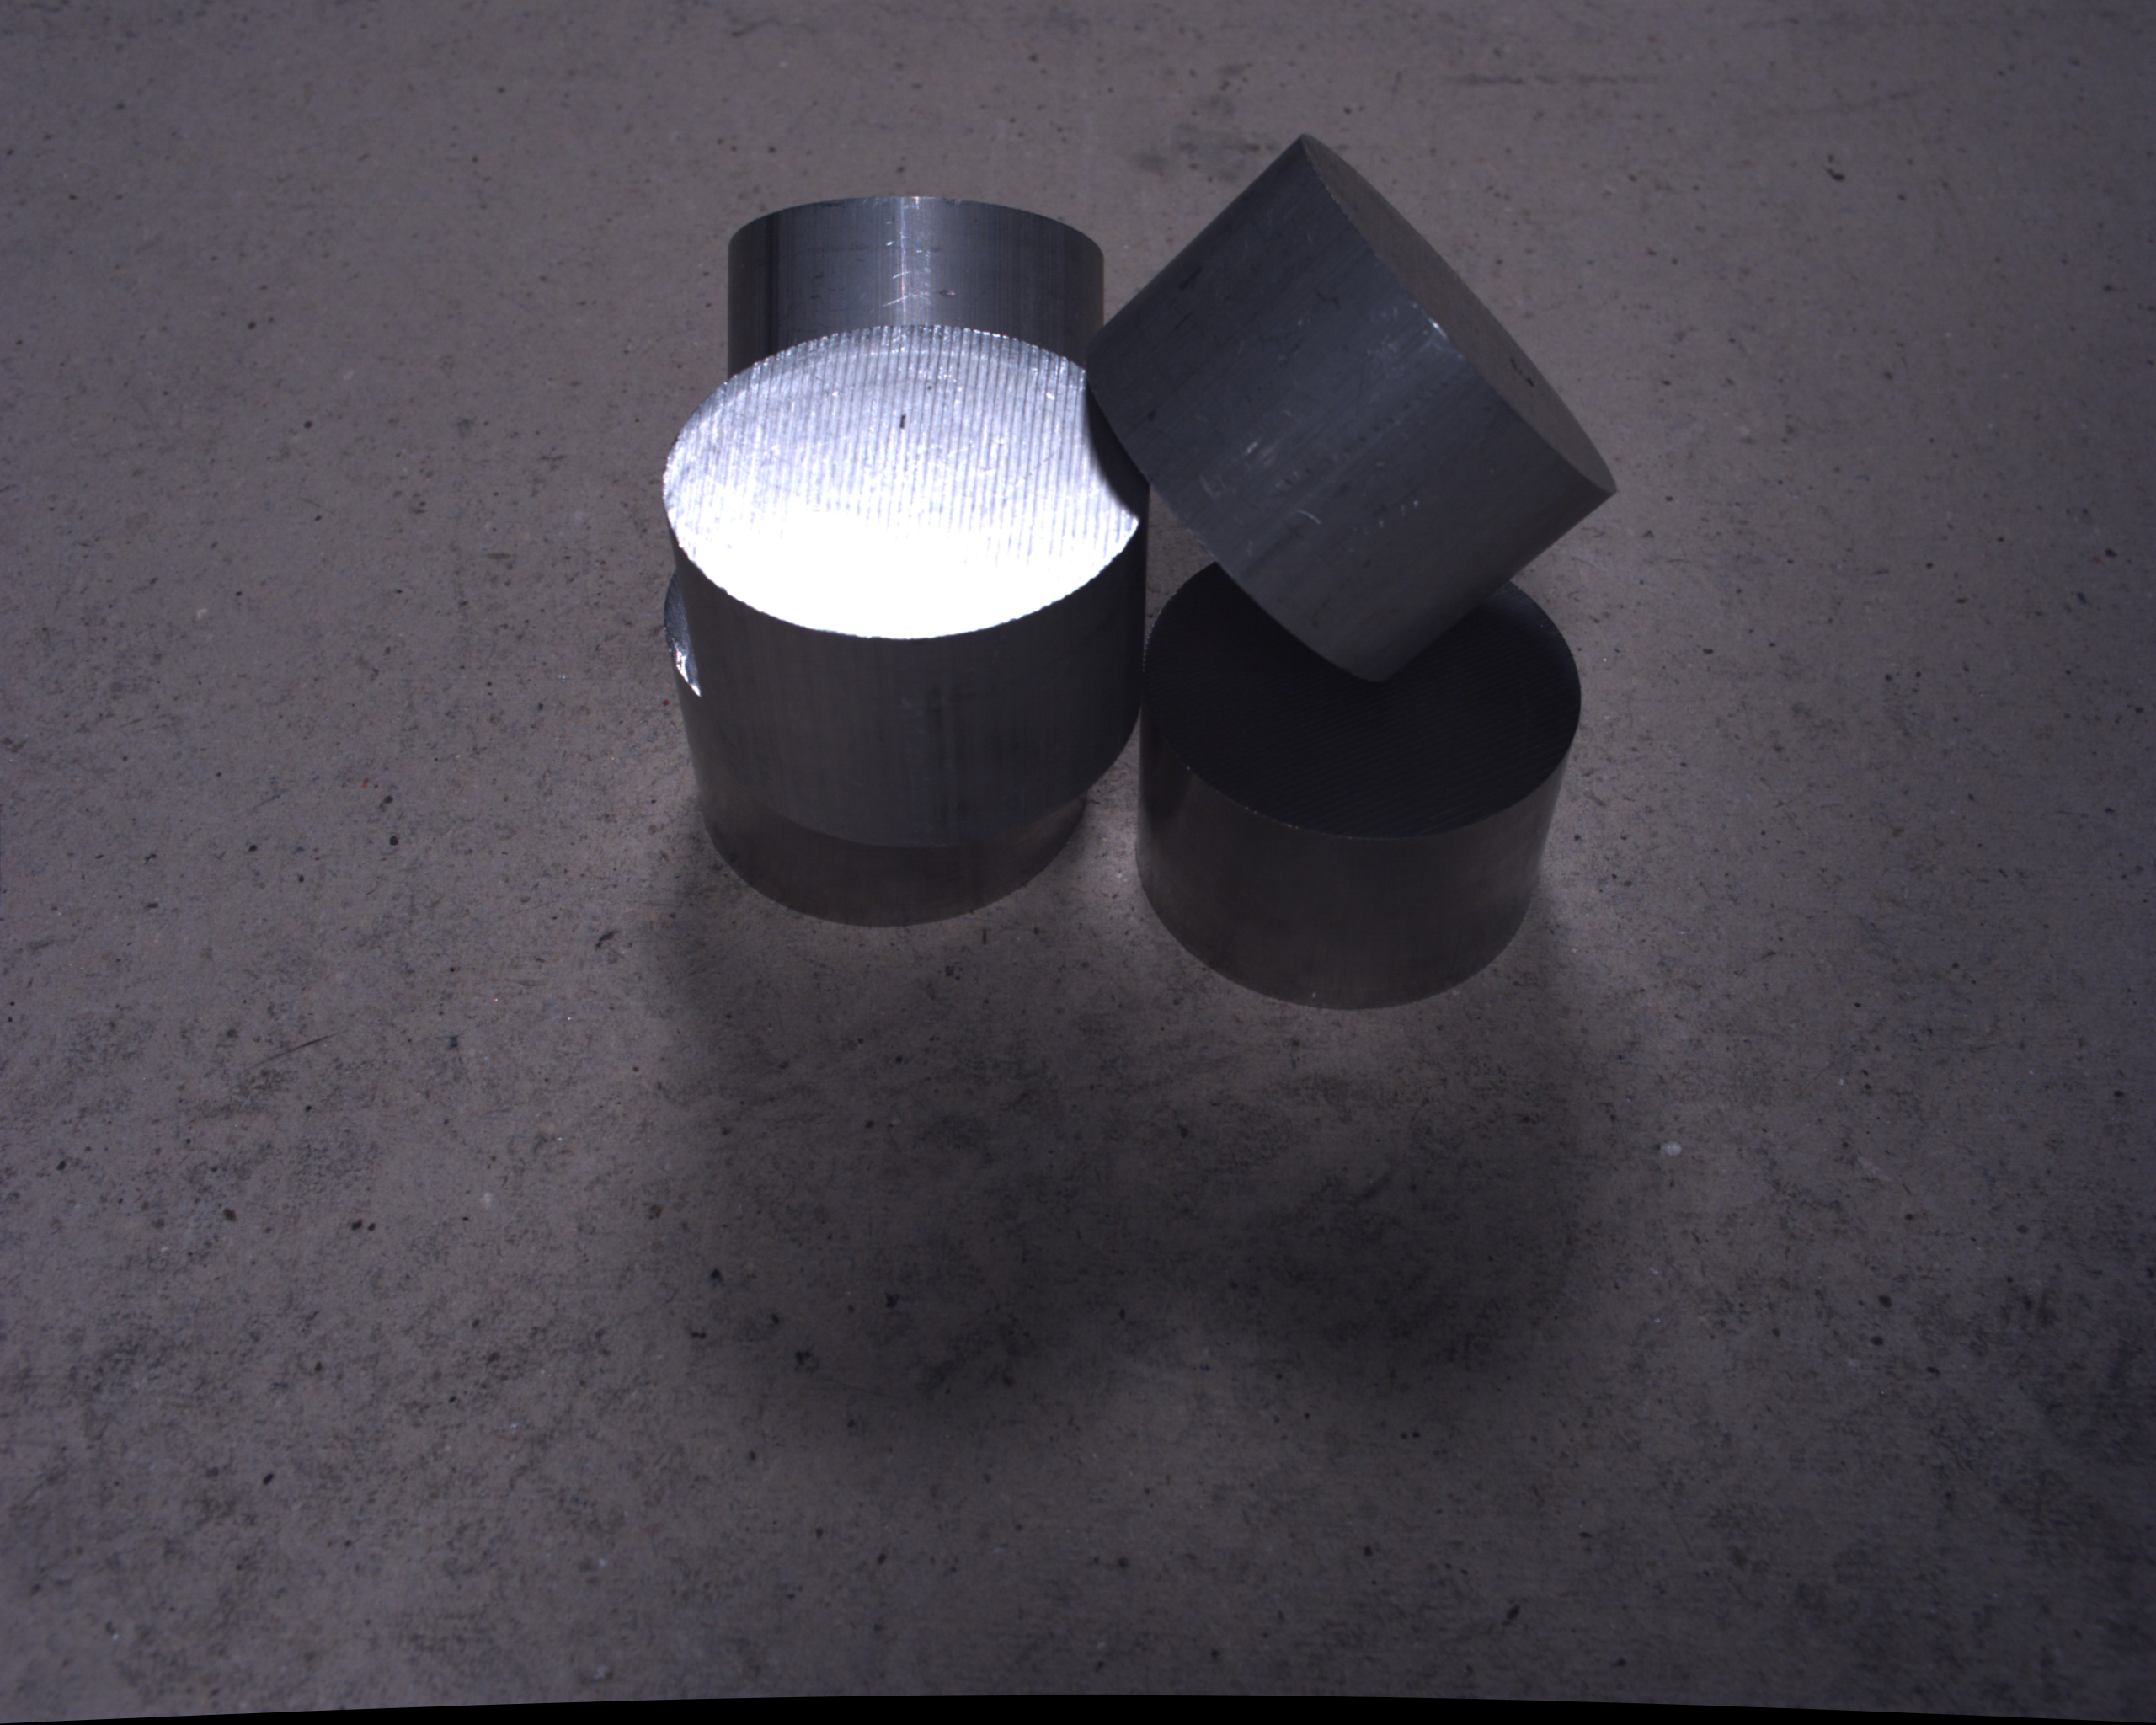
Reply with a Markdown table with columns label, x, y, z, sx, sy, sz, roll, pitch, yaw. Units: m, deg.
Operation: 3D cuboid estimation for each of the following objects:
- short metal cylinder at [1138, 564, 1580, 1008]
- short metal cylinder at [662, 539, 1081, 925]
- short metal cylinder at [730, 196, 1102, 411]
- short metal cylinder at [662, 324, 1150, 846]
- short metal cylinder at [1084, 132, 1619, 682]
| label | x | y | z | sx | sy | sz | roll | pitch | yaw |
| --- | --- | --- | --- | --- | --- | --- | --- | --- | --- |
| short metal cylinder | 0.052 | -0.019 | 0.404 | 0.081 | 0.050 | 0.080 | 0 | 50 | 0 |
| short metal cylinder | -0.039 | -0.034 | 0.416 | 0.081 | 0.050 | 0.080 | 0 | 50 | 0 |
| short metal cylinder | -0.035 | -0.105 | 0.449 | 0.081 | 0.080 | 0.050 | 0 | 89 | -1 |
| short metal cylinder | -0.028 | -0.049 | 0.364 | 0.081 | 0.050 | 0.080 | 0 | 50 | 0 |
| short metal cylinder | 0.047 | -0.078 | 0.361 | 0.050 | 0.080 | 0.080 | -41 | 49 | 22 |
